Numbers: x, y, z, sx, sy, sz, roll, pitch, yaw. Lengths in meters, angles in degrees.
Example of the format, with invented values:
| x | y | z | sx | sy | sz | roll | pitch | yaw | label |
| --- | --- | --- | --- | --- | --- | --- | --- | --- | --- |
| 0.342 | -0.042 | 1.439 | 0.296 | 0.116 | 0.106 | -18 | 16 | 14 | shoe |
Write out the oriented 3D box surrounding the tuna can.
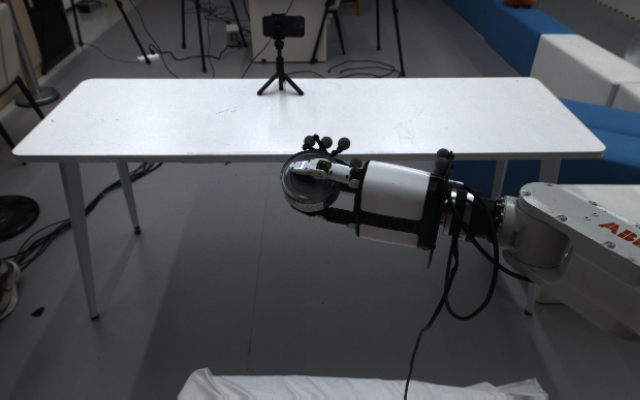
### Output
| x | y | z | sx | sy | sz | roll | pitch | yaw | label |
| --- | --- | --- | --- | --- | --- | --- | --- | --- | --- |
| -0.012 | -0.027 | 0.688 | 0.085 | 0.034 | 0.085 | -2 | 60 | 3 | tuna can |
